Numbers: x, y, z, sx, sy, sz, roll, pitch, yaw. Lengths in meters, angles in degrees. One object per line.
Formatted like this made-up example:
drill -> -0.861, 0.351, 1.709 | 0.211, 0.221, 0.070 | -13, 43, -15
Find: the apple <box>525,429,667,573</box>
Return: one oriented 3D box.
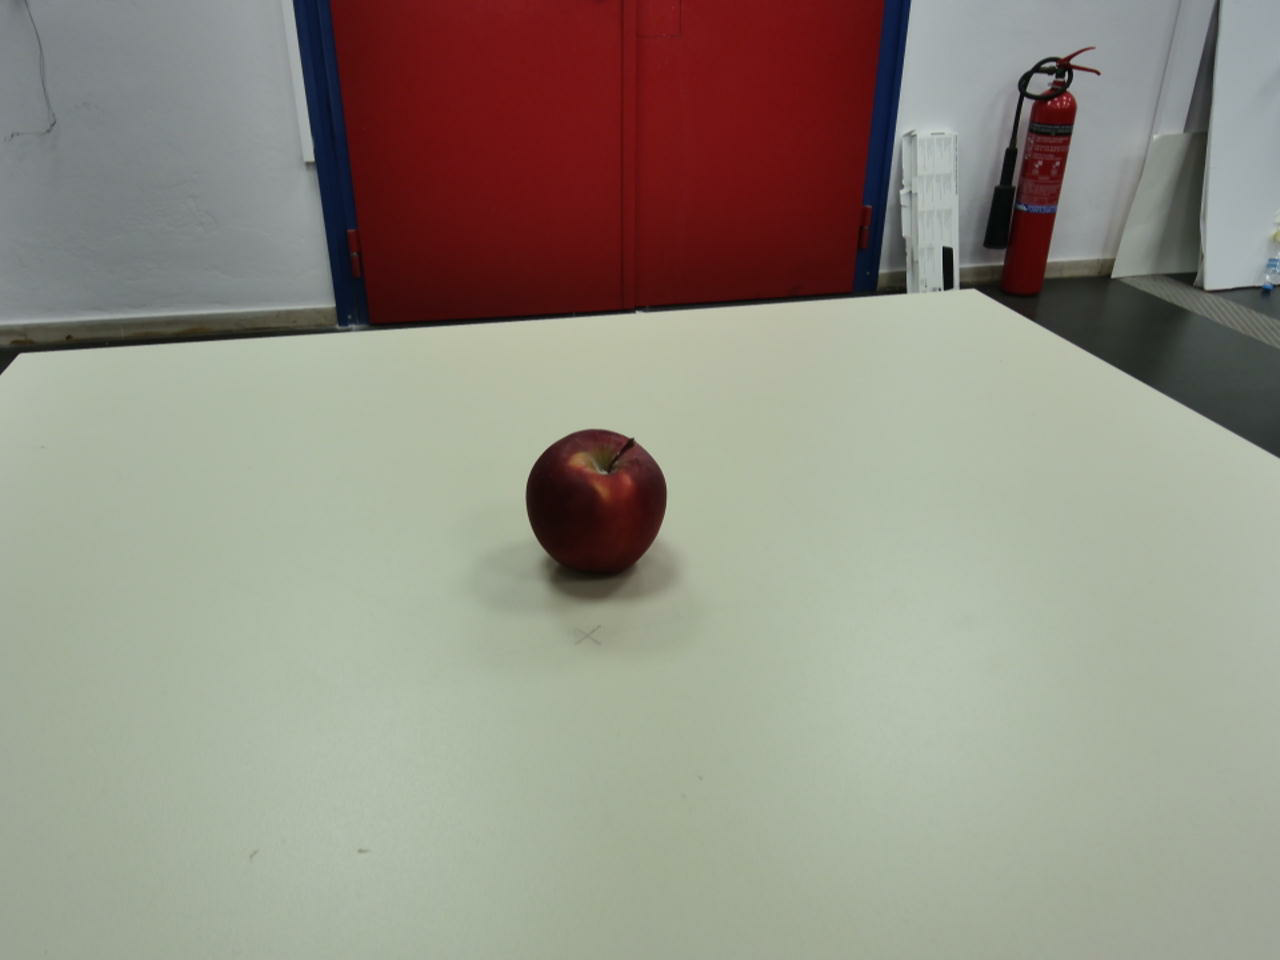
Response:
apple -> -0.021, 0.011, 0.490 | 0.070, 0.072, 0.070 | 1, 26, 0
